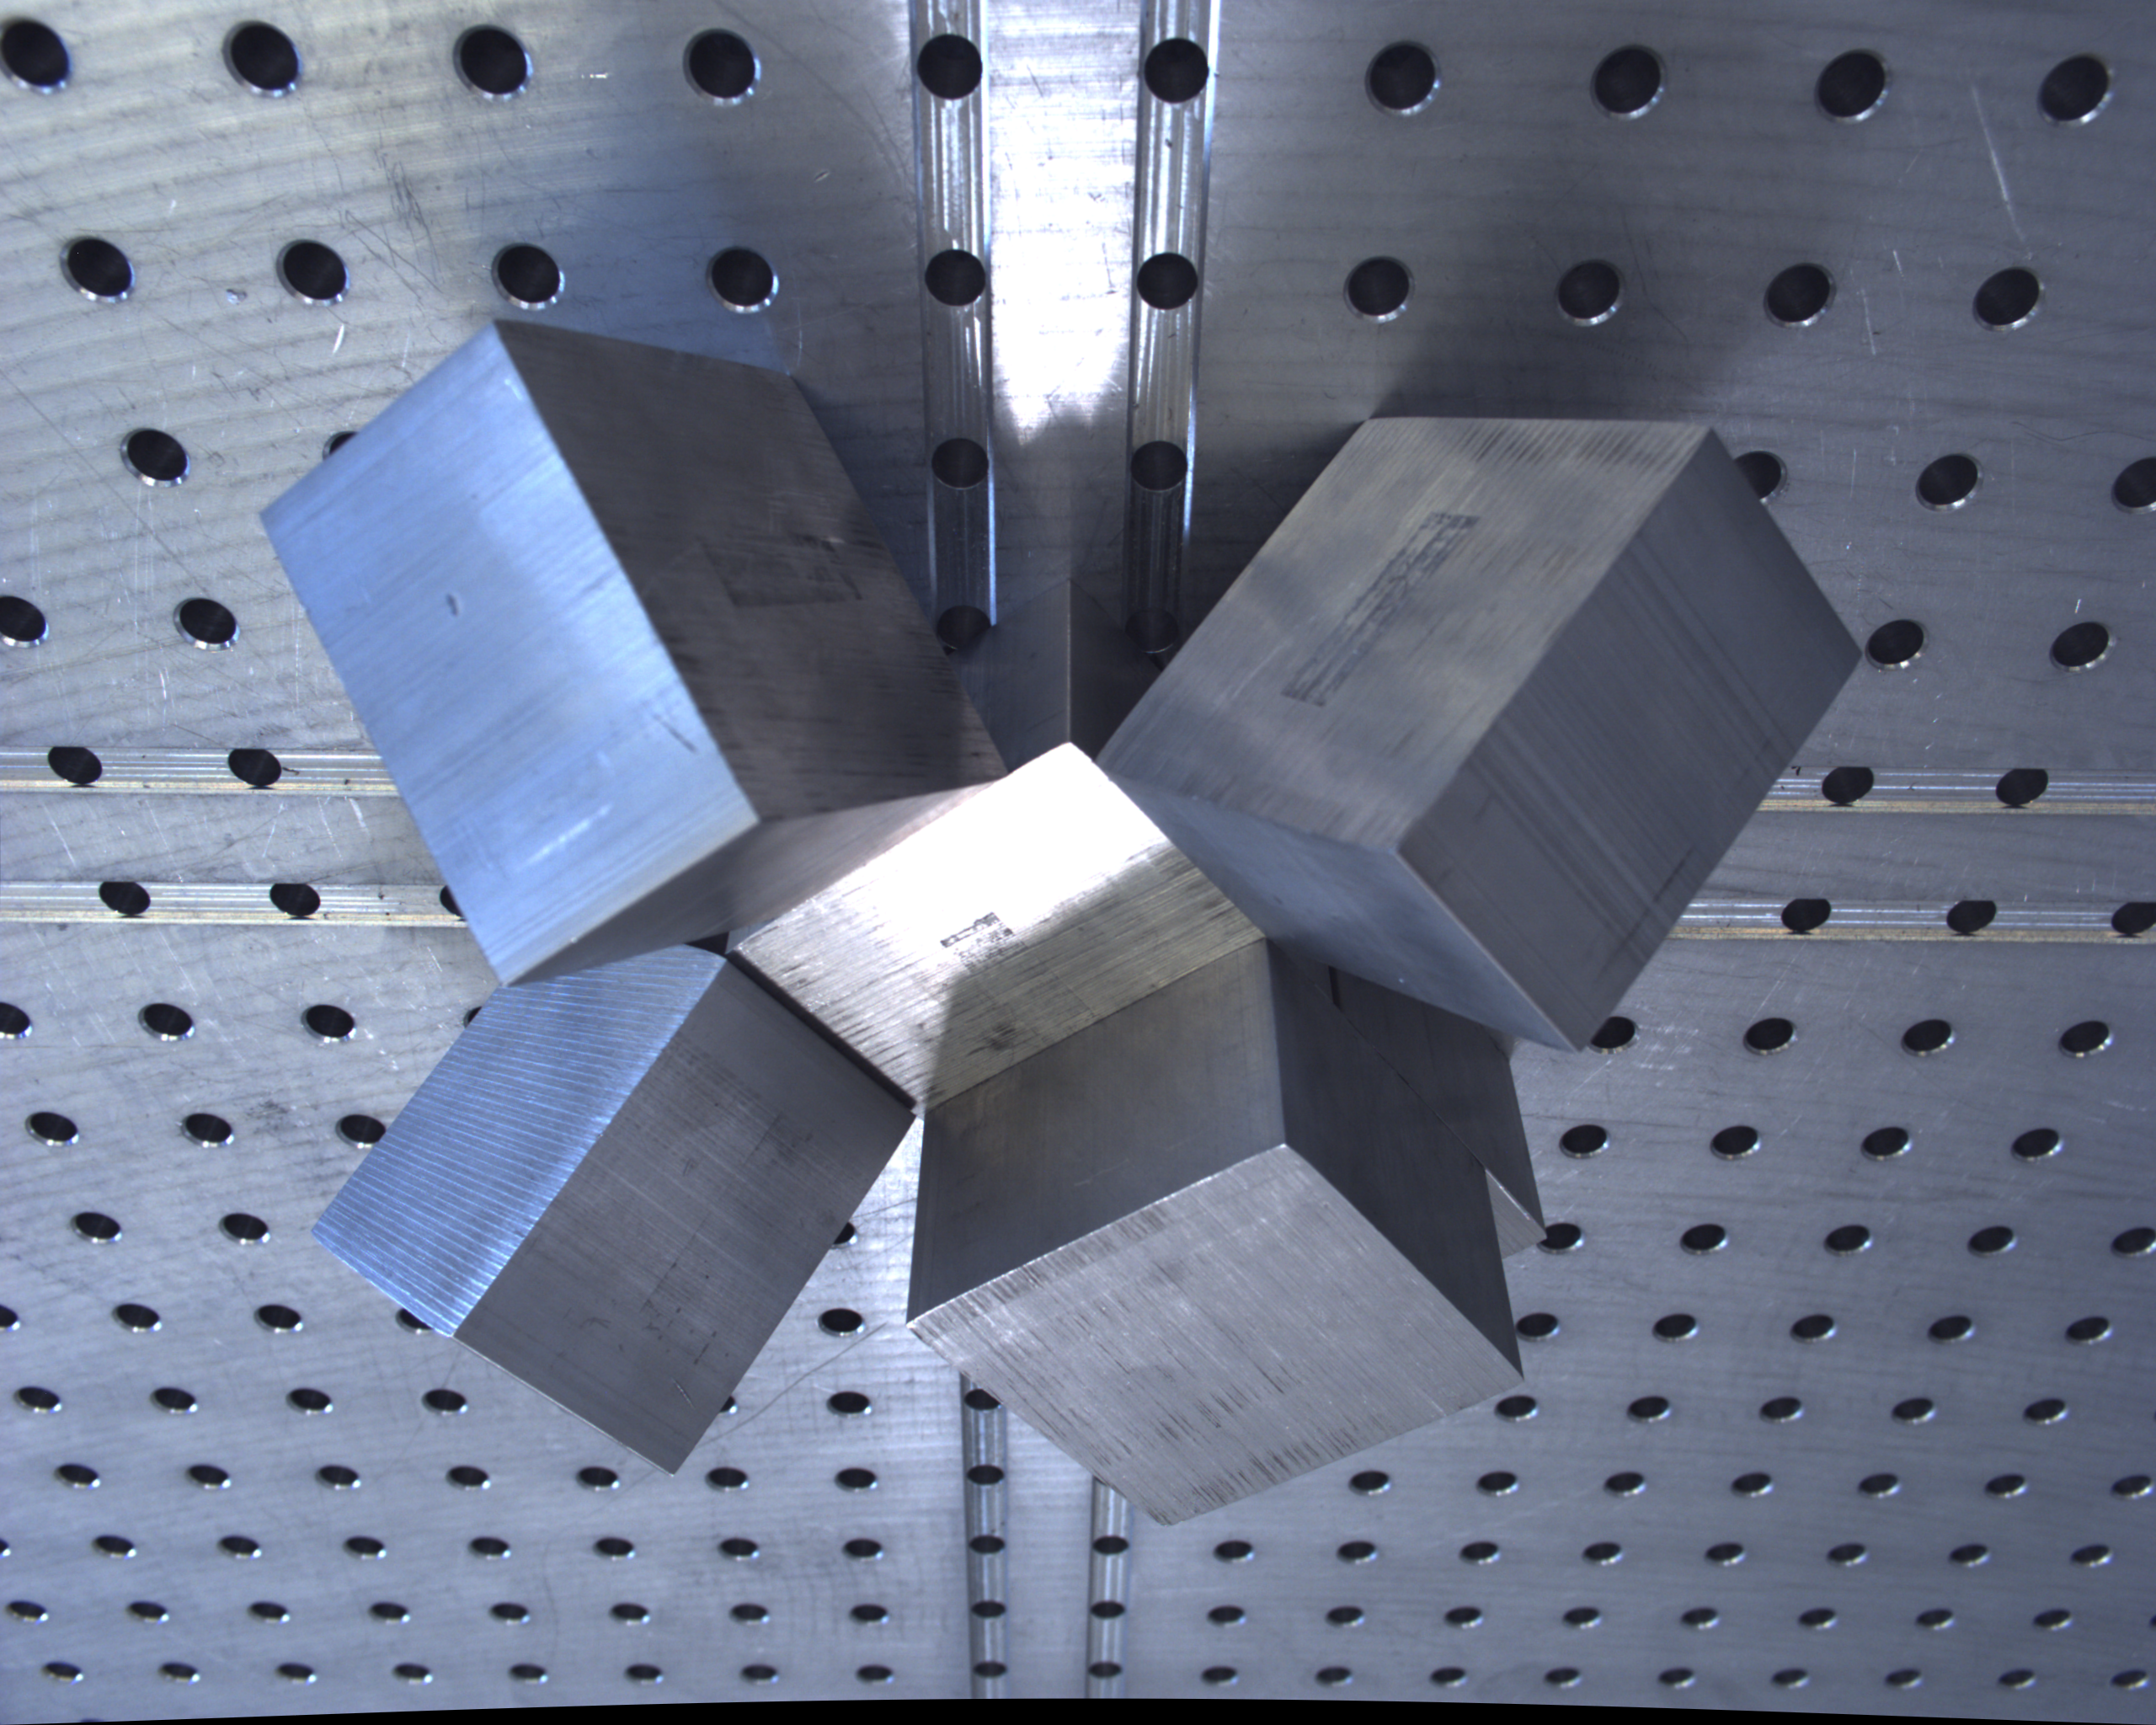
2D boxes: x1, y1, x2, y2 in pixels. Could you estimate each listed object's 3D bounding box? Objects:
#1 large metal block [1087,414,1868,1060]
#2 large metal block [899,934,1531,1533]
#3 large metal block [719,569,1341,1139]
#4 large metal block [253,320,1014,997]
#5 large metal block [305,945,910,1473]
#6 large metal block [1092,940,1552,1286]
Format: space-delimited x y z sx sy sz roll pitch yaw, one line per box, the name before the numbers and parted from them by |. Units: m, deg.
large metal block | 0.062 -0.024 0.335 0.050 0.080 0.080 45 77 -30
large metal block | 0.025 0.072 0.389 0.080 0.050 0.080 -31 125 22
large metal block | -0.008 0.005 0.399 0.080 0.050 0.080 -31 124 23
large metal block | -0.065 -0.032 0.327 0.050 0.080 0.080 -31 85 23
large metal block | -0.092 0.060 0.405 0.050 0.080 0.080 45 159 -30
large metal block | 0.041 0.055 0.441 0.080 0.050 0.080 -30 123 22
